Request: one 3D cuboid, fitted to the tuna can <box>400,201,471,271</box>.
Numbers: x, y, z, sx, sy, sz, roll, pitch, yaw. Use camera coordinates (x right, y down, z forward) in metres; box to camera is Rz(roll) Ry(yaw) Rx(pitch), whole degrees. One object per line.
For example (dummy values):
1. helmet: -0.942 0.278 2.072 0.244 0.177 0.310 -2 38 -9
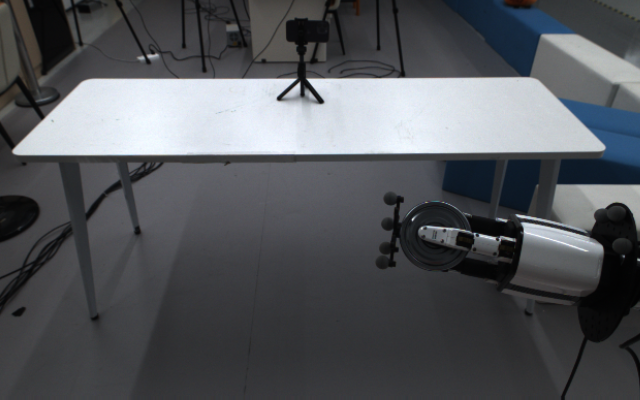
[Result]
1. tuna can: 0.143 0.041 0.590 0.085 0.085 0.034 9 -7 10
